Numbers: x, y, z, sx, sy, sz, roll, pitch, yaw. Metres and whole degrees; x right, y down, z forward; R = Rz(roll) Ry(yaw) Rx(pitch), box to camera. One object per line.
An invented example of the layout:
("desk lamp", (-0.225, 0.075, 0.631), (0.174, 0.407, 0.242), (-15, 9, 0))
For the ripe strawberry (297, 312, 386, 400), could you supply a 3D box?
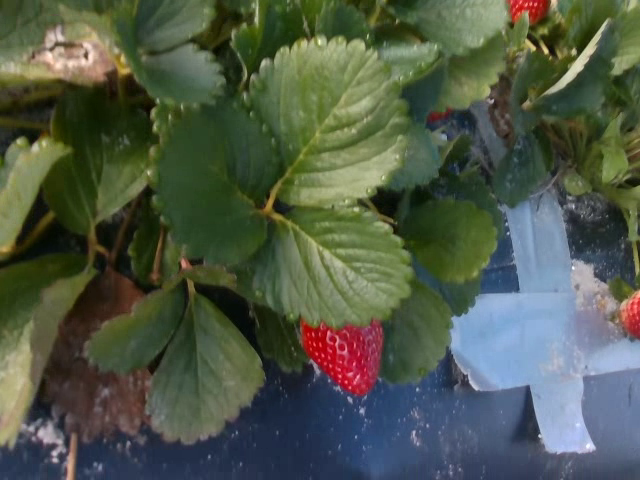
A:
("ripe strawberry", (0.005, 0.020, 0.113), (0.018, 0.022, 0.020), (-6, -27, -14))
